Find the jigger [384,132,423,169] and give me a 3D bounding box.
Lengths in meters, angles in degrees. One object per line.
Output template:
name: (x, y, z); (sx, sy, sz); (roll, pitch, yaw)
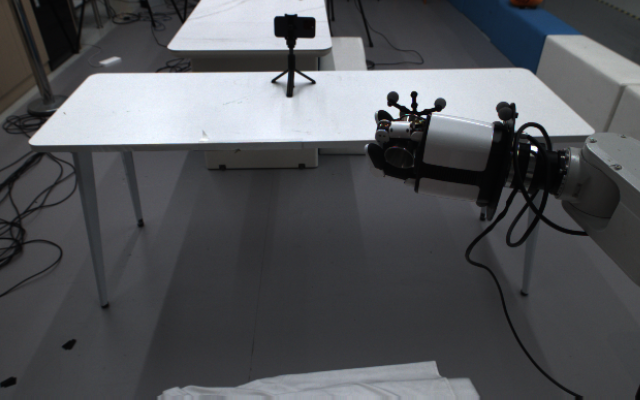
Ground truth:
jigger: (0.124, -0.085, 0.685); (0.043, 0.043, 0.071); (13, 58, 15)
